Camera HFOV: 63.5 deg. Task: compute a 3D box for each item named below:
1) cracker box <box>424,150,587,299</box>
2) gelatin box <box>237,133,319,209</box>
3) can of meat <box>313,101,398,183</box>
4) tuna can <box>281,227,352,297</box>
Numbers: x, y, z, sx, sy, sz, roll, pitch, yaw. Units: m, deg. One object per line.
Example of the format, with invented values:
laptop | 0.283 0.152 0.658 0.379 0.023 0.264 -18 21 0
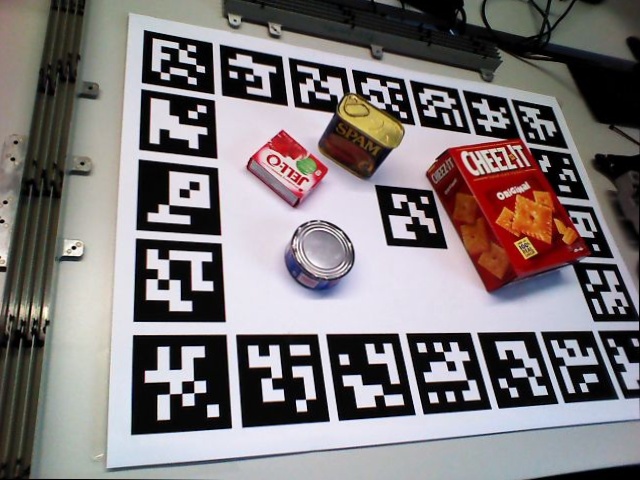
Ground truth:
cracker box | 0.286 -0.033 0.801 0.163 0.072 0.213 -13 66 -30
gelatin box | -0.057 -0.097 0.715 0.089 0.030 0.073 40 52 0
can of meat | 0.049 -0.140 0.760 0.102 0.084 0.057 29 54 -3
tuna can | -0.006 0.028 0.658 0.085 0.034 0.085 9 62 -17
